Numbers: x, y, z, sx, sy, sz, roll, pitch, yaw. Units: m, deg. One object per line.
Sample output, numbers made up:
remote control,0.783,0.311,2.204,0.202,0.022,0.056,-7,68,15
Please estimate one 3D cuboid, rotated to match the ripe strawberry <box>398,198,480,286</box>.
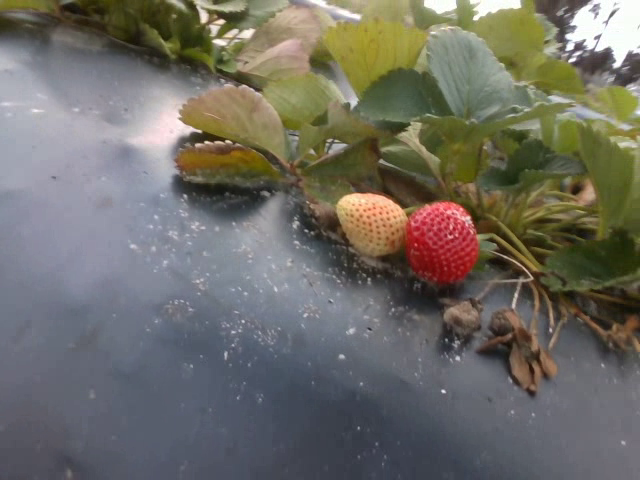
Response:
ripe strawberry,0.044,-0.002,0.235,0.033,0.034,0.041,-38,-37,16
